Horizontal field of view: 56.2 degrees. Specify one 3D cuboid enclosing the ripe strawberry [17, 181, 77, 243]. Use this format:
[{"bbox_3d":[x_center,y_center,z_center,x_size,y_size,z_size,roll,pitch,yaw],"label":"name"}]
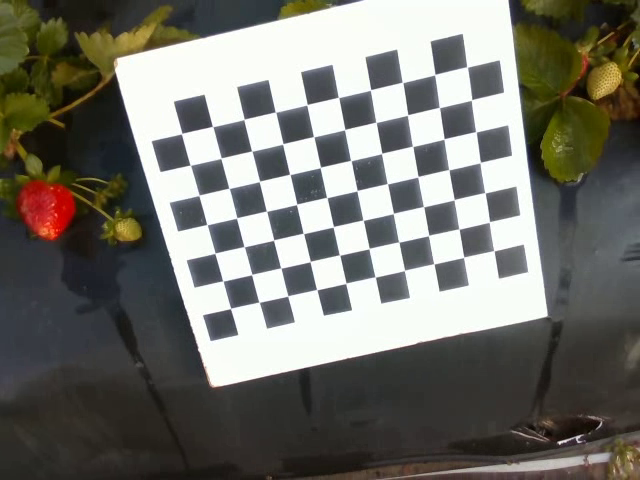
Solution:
[{"bbox_3d":[-0.215,-0.019,0.477,0.043,0.057,0.052,-37,-48,13],"label":"ripe strawberry"}]
